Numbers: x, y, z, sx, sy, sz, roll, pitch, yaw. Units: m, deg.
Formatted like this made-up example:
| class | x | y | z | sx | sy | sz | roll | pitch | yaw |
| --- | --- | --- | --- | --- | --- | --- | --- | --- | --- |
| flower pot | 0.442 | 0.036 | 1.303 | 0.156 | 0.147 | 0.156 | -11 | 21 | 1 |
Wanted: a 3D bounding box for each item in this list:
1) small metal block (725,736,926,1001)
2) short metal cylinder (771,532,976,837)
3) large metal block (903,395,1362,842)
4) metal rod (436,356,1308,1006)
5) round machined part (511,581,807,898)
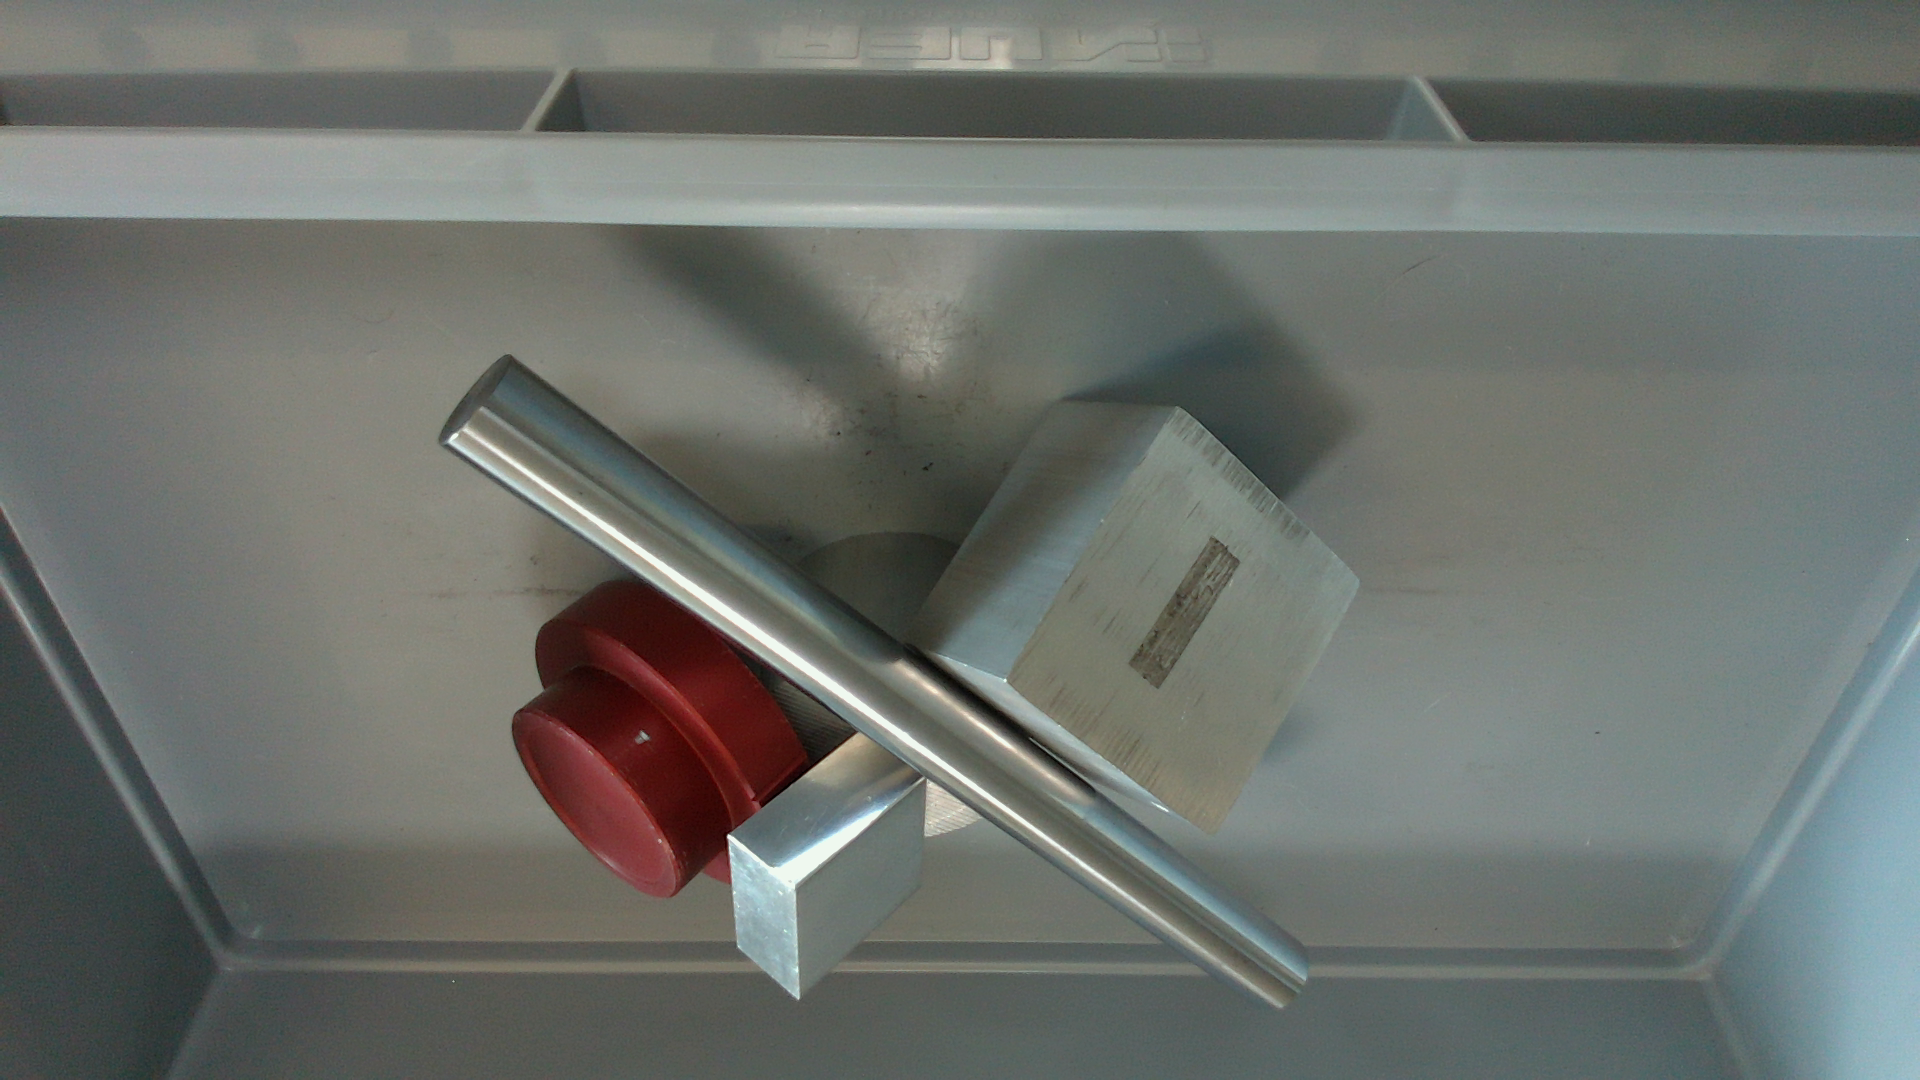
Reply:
| class | x | y | z | sx | sy | sz | roll | pitch | yaw |
| --- | --- | --- | --- | --- | --- | --- | --- | --- | --- |
| small metal block | -0.036 | 0.089 | 0.380 | 0.025 | 0.050 | 0.050 | 30 | 137 | 28 |
| short metal cylinder | -0.020 | 0.044 | 0.409 | 0.080 | 0.050 | 0.080 | 0 | 130 | 0 |
| large metal block | 0.046 | 0.019 | 0.361 | 0.080 | 0.050 | 0.080 | 38 | 77 | -28 |
| metal rod | -0.003 | 0.054 | 0.369 | 0.025 | 0.025 | 0.301 | -36 | 122 | 26 |
| round machined part | -0.090 | 0.064 | 0.397 | 0.098 | 0.042 | 0.098 | 29 | 141 | 26 |
